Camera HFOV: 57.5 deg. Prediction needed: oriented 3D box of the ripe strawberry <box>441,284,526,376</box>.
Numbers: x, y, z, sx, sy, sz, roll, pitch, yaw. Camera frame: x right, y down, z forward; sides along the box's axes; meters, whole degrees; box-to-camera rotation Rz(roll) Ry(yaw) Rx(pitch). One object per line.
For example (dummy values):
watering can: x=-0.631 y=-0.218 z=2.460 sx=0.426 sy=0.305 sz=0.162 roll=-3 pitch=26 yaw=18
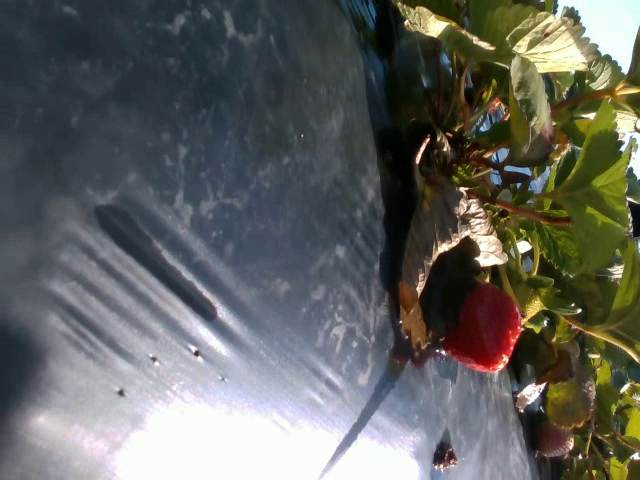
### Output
ripe strawberry: x=0.061 y=0.040 z=0.216 sx=0.037 sy=0.047 sz=0.054 roll=-4 pitch=28 yaw=12
